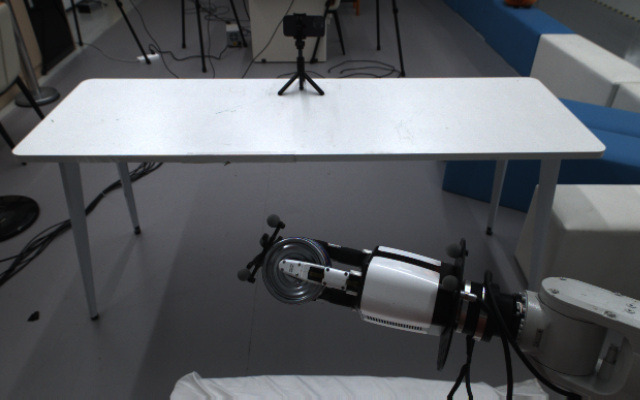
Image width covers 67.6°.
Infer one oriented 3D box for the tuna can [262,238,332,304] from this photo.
[{"bbox_3d":[-0.026,0.093,0.614,0.085,0.085,0.034,9,-4,10],"label":"tuna can"}]
